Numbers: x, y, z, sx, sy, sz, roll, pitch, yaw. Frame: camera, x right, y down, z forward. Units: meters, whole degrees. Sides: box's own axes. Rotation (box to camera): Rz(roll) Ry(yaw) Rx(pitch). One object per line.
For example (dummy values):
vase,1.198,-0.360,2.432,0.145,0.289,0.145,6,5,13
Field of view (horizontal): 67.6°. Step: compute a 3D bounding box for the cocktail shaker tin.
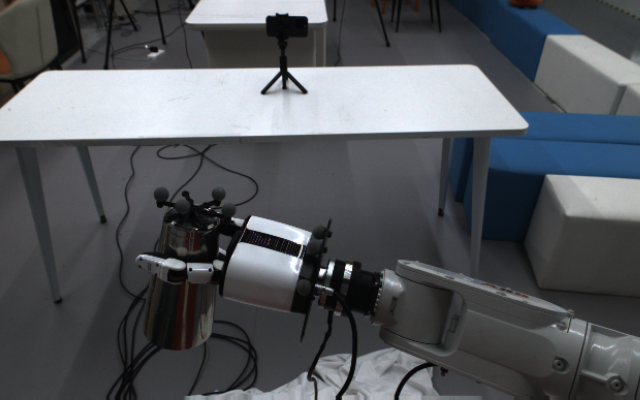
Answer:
cocktail shaker tin,-0.168,0.092,0.614,0.093,0.170,0.093,12,25,-6
